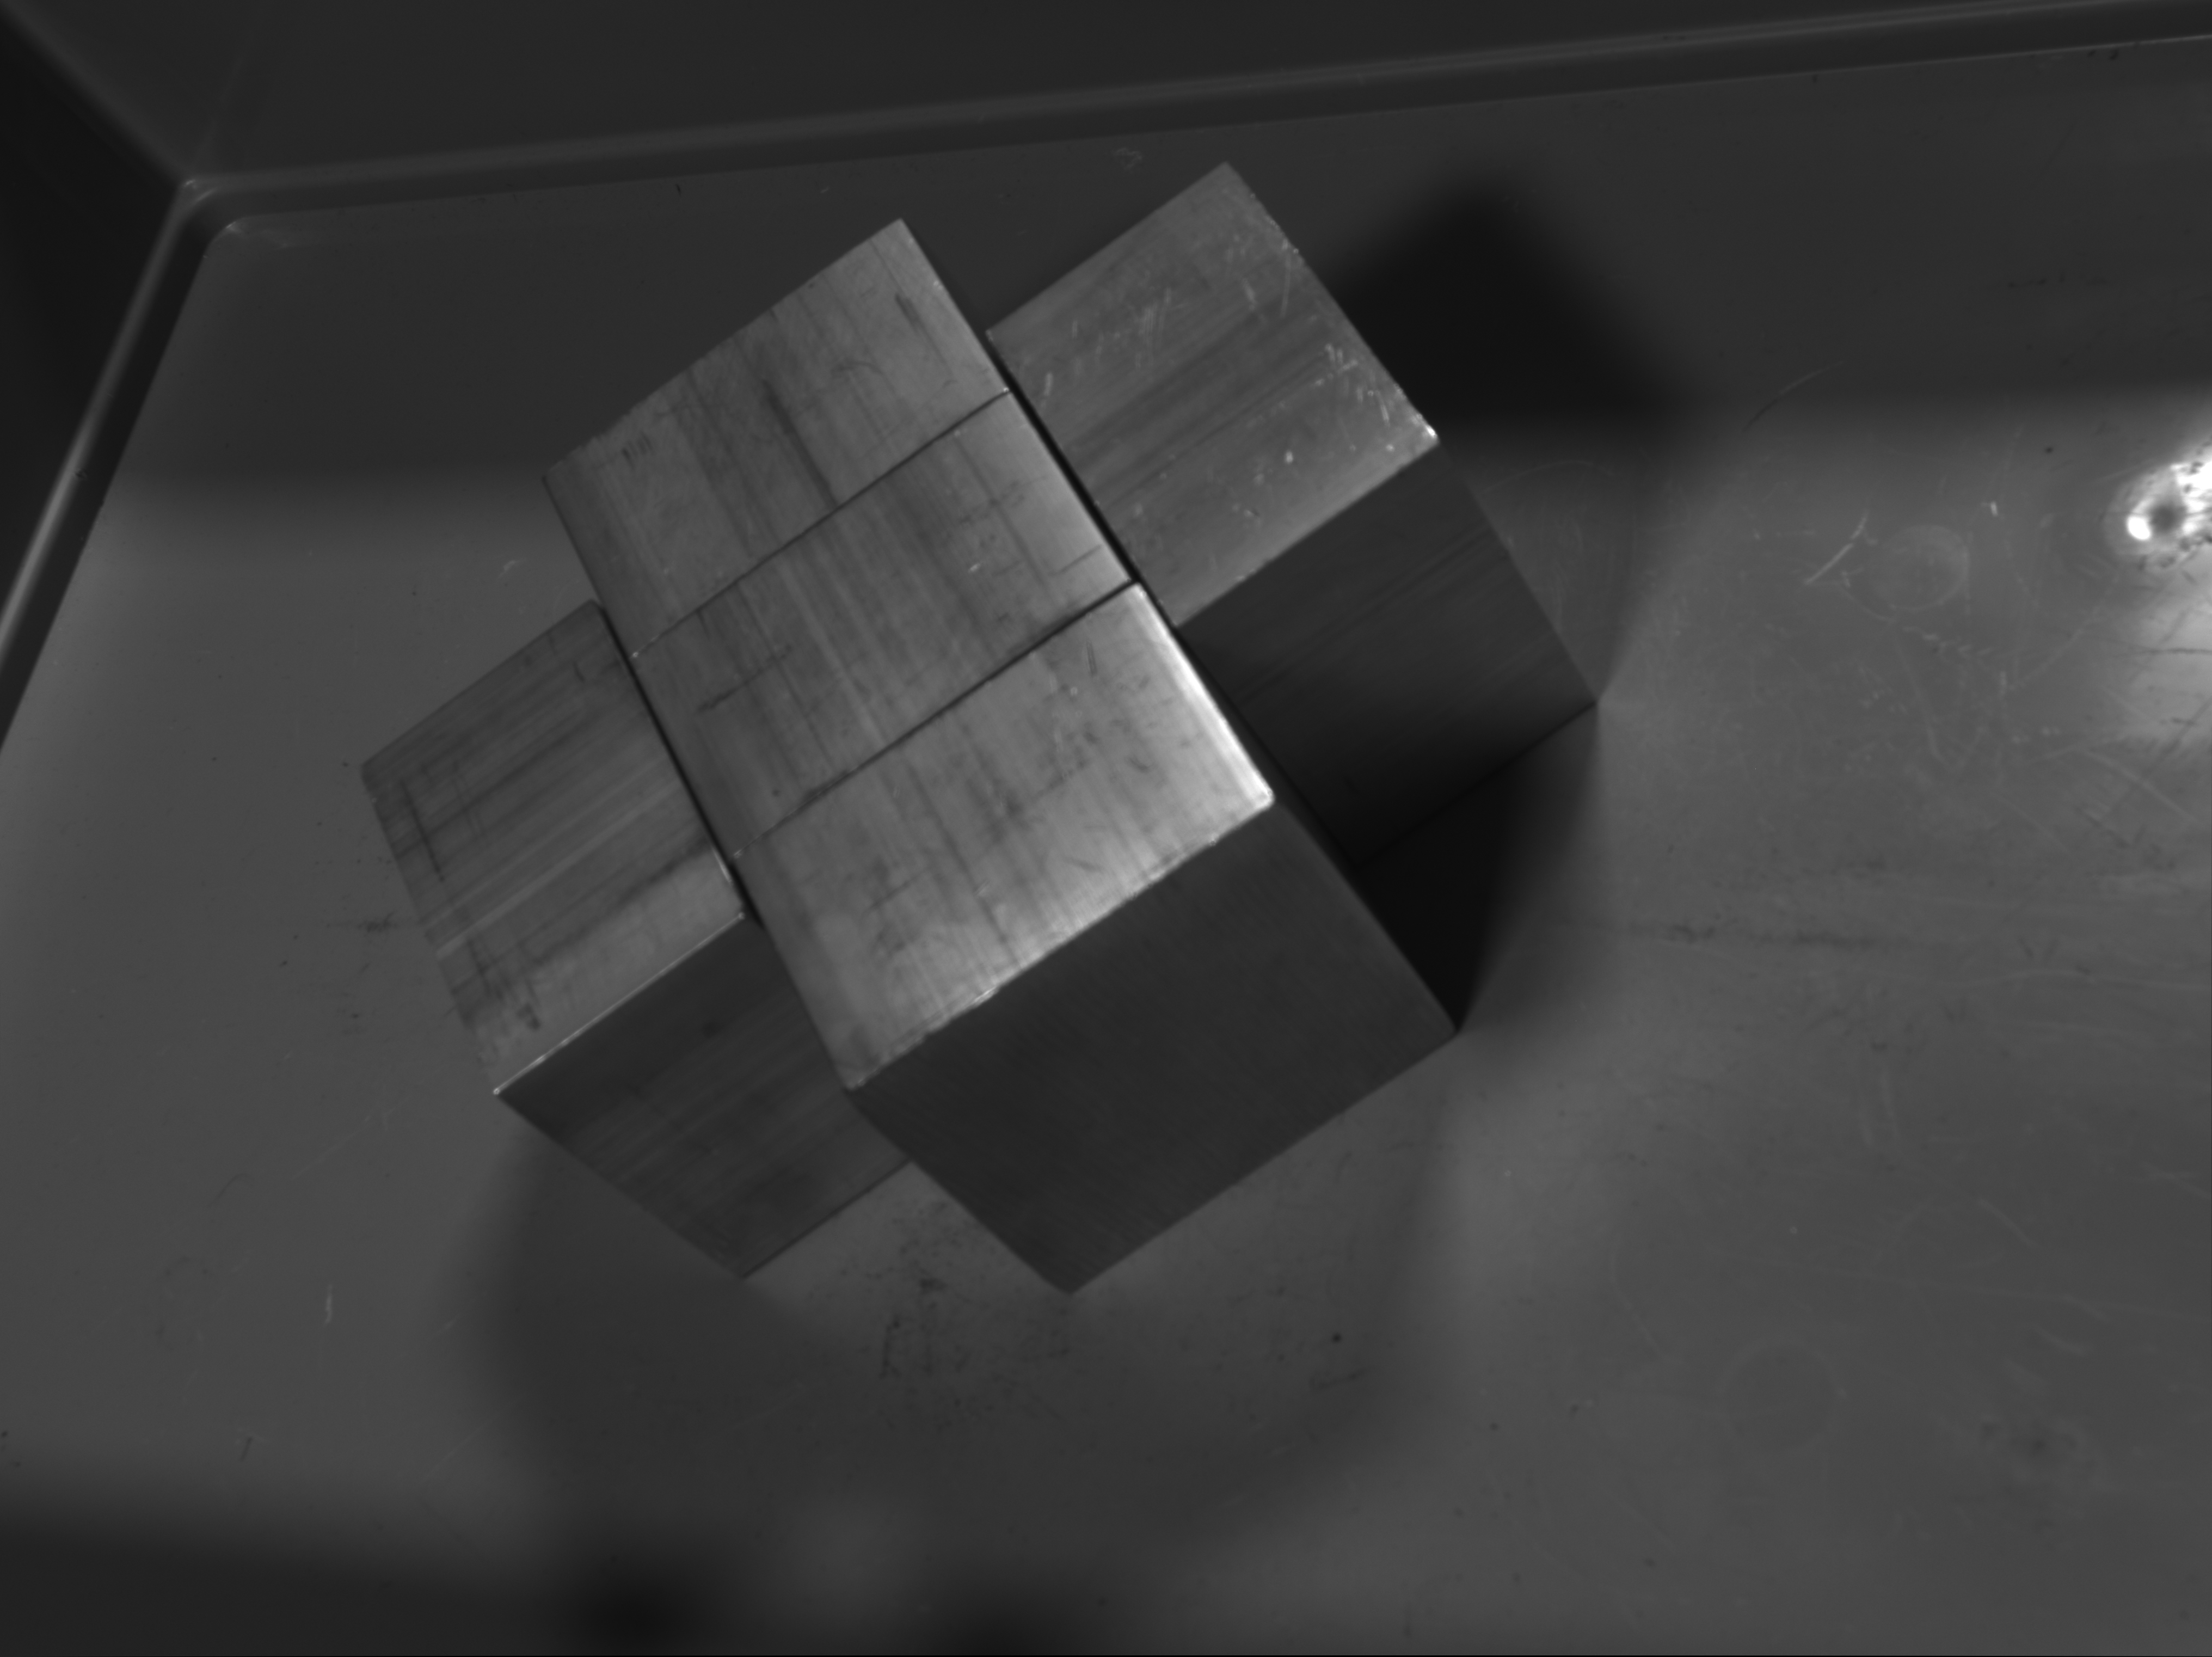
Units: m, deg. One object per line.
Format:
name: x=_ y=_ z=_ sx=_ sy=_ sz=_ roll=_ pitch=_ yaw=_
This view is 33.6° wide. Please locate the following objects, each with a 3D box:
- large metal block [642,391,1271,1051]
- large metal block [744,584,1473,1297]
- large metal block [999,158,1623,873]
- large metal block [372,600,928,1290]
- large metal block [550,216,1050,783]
large metal block: x=-0.019 y=-0.014 z=0.627 sx=0.080 sy=0.080 sz=0.050 roll=-35 pitch=51 yaw=5
large metal block: x=0.002 y=0.020 z=0.595 sx=0.080 sy=0.080 sz=0.050 roll=-35 pitch=51 yaw=5
large metal block: x=0.035 y=-0.052 z=0.622 sx=0.050 sy=0.080 sz=0.080 roll=-35 pitch=51 yaw=5
large metal block: x=-0.073 y=0.021 z=0.635 sx=0.050 sy=0.080 sz=0.080 roll=-35 pitch=51 yaw=5
large metal block: x=-0.039 y=-0.048 z=0.658 sx=0.080 sy=0.080 sz=0.050 roll=-35 pitch=51 yaw=5
